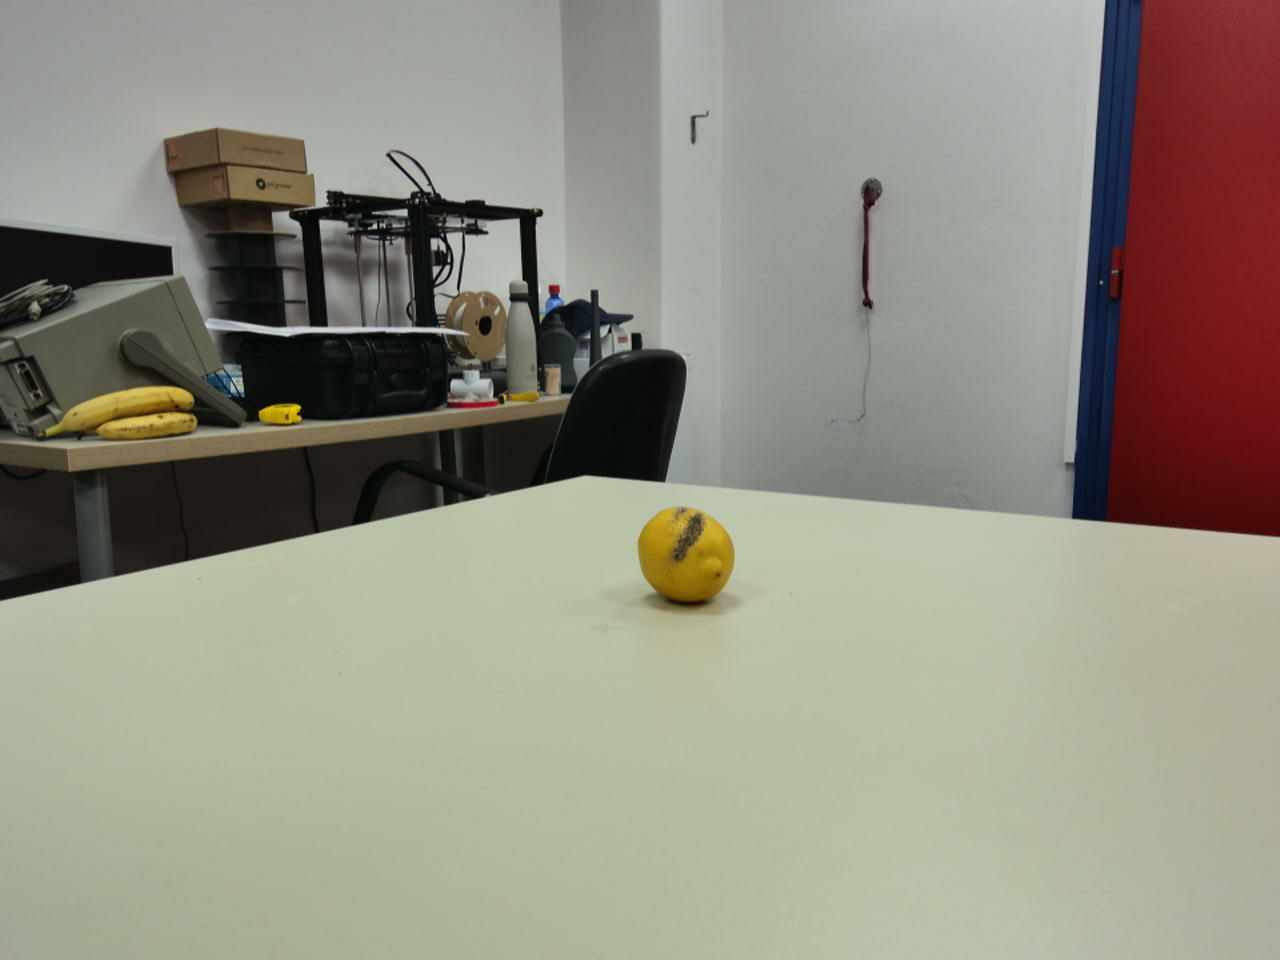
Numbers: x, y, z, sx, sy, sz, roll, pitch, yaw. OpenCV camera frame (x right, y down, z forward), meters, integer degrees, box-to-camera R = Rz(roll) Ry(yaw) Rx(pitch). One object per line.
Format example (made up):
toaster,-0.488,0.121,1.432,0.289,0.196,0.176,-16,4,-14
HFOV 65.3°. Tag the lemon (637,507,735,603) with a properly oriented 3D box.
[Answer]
lemon,0.029,0.045,0.609,0.061,0.056,0.058,4,8,27
